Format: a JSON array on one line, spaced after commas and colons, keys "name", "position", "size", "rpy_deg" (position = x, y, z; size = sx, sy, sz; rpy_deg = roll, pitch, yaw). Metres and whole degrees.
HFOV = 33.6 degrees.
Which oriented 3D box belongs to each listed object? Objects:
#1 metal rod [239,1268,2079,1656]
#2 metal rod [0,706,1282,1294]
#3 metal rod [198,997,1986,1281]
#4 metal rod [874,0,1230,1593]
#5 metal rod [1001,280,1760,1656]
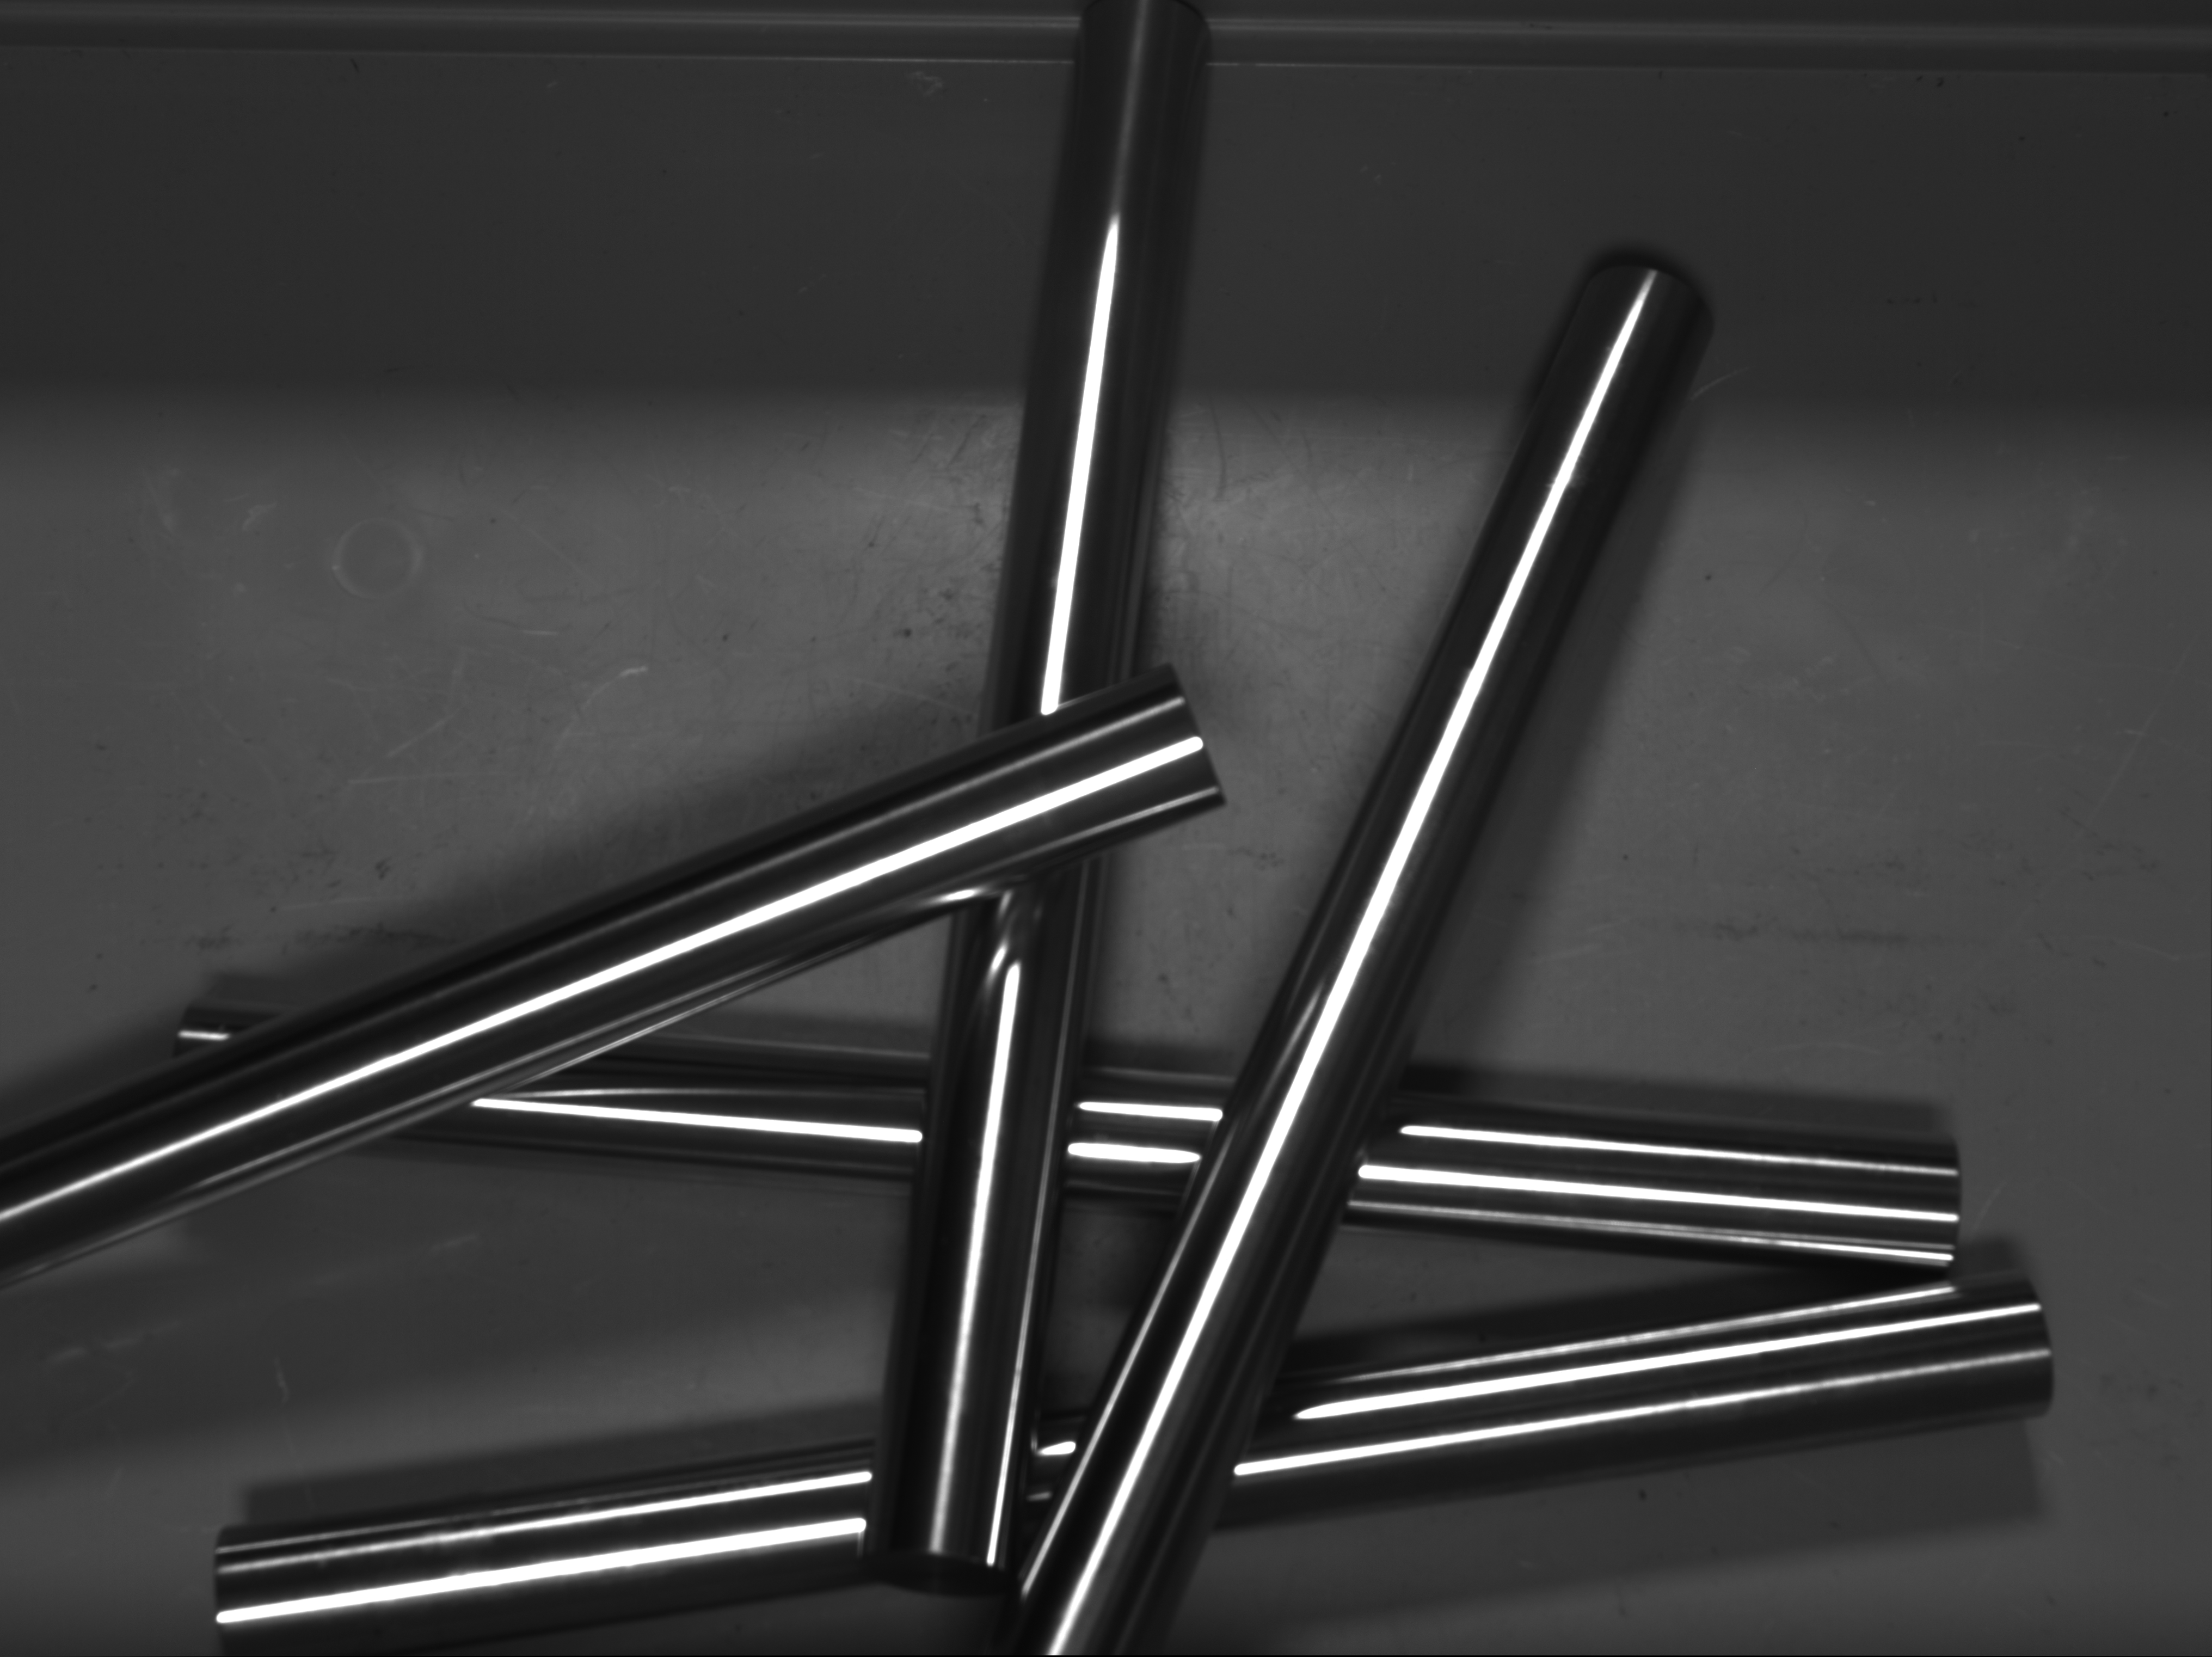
[{"name": "metal rod", "position": [0.010, 0.106, 0.604], "size": [0.300, 0.025, 0.025], "rpy_deg": [-8, 70, -3]}, {"name": "metal rod", "position": [-0.117, 0.041, 0.602], "size": [0.300, 0.025, 0.025], "rpy_deg": [-19, 71, -1]}, {"name": "metal rod", "position": [-0.003, 0.053, 0.624], "size": [0.300, 0.025, 0.025], "rpy_deg": [4, 70, 2]}, {"name": "metal rod", "position": [-0.006, -0.019, 0.632], "size": [0.025, 0.025, 0.300], "rpy_deg": [6, 64, 2]}, {"name": "metal rod", "position": [0.048, 0.027, 0.613], "size": [0.025, 0.025, 0.300], "rpy_deg": [23, 64, 8]}]
